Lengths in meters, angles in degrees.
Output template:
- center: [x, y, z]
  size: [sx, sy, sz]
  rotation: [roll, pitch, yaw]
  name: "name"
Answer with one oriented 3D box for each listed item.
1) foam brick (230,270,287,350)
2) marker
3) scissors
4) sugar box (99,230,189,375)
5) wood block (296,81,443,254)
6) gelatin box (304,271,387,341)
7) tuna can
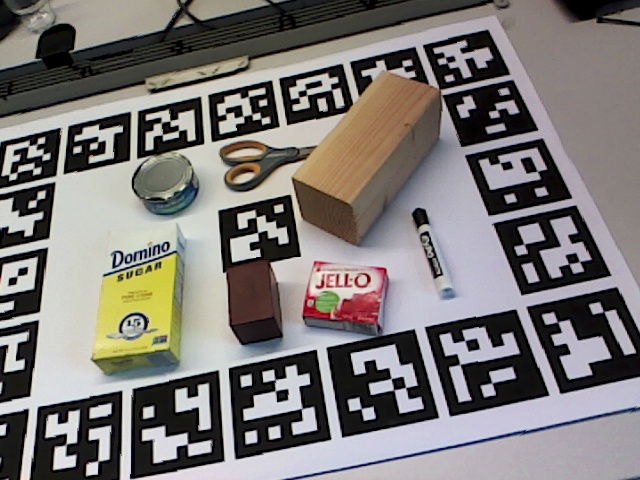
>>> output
- center: [-0.073, 0.084, 0.735]
  size: [0.053, 0.051, 0.078]
  rotation: [-11, 57, 5]
  name: "foam brick"
- center: [0.133, 0.023, 0.755]
  size: [0.019, 0.019, 0.121]
  rotation: [-11, 59, 4]
  name: "marker"
- center: [-0.047, -0.106, 0.877]
  size: [0.203, 0.016, 0.088]
  rotation: [-7, 57, 9]
  name: "scissors"
- center: [-0.217, 0.075, 0.779]
  size: [0.093, 0.045, 0.177]
  rotation: [-8, 57, 5]
  name: "sugar box"
- center: [0.071, -0.097, 0.806]
  size: [0.090, 0.090, 0.206]
  rotation: [27, 66, 26]
  name: "wood block"
- center: [0.032, 0.077, 0.736]
  size: [0.089, 0.030, 0.073]
  rotation: [4, 60, 14]
  name: "gelatin box"
- center: [-0.217, -0.069, 0.873]
  size: [0.086, 0.033, 0.086]
  rotation: [-5, 58, 8]
  name: "tuna can"
